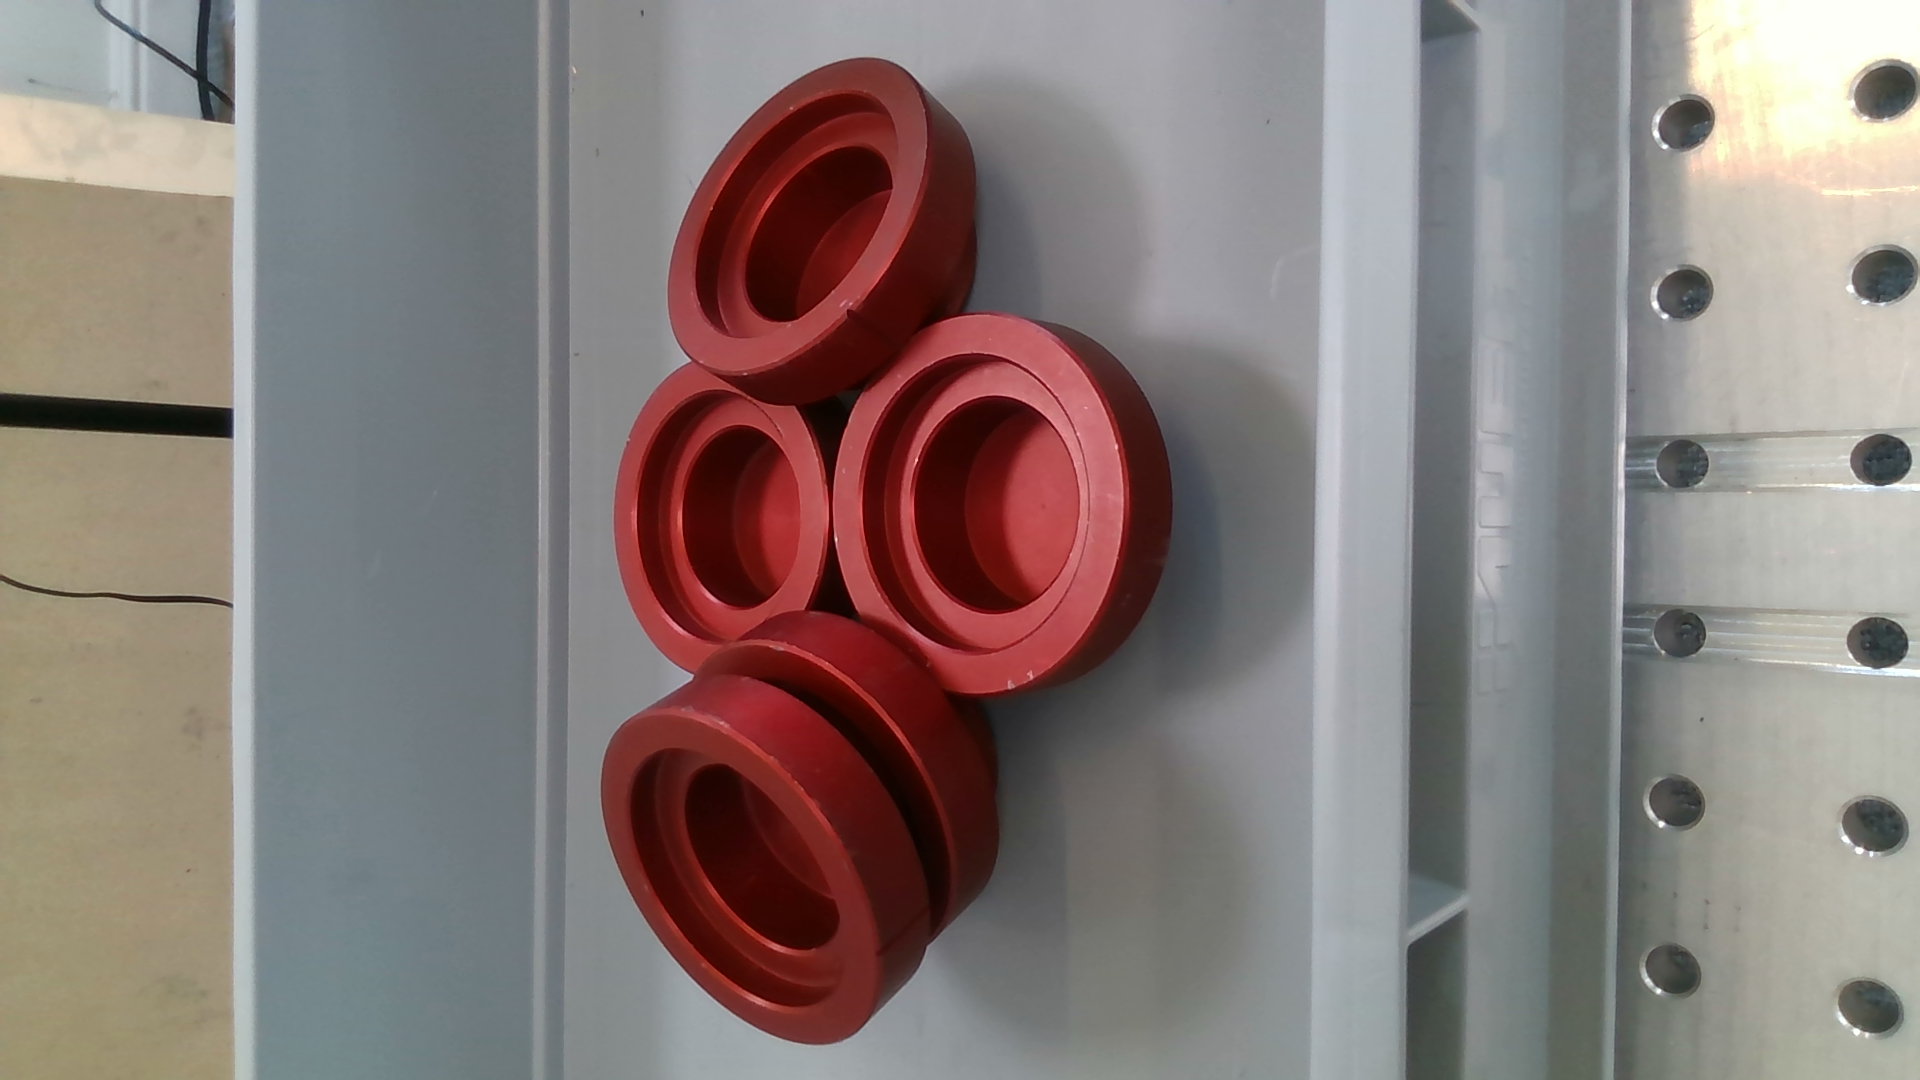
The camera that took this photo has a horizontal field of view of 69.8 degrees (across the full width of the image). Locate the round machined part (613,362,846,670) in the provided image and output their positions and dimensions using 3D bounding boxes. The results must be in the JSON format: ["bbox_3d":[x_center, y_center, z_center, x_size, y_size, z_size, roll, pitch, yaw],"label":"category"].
[{"bbox_3d":[-0.062,-0.007,0.429,0.098,0.042,0.098,0,91,40],"label":"round machined part"}]

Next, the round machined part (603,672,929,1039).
[{"bbox_3d":[-0.047,0.079,0.367,0.098,0.042,0.098,19,124,32],"label":"round machined part"}]

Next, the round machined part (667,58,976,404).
[{"bbox_3d":[-0.035,-0.083,0.393,0.098,0.042,0.098,-18,59,33],"label":"round machined part"}]

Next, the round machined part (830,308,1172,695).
[{"bbox_3d":[0.014,-0.010,0.365,0.098,0.042,0.098,0,91,40],"label":"round machined part"}]

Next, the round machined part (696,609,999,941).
[{"bbox_3d":[-0.029,0.064,0.389,0.098,0.042,0.098,19,123,31],"label":"round machined part"}]
